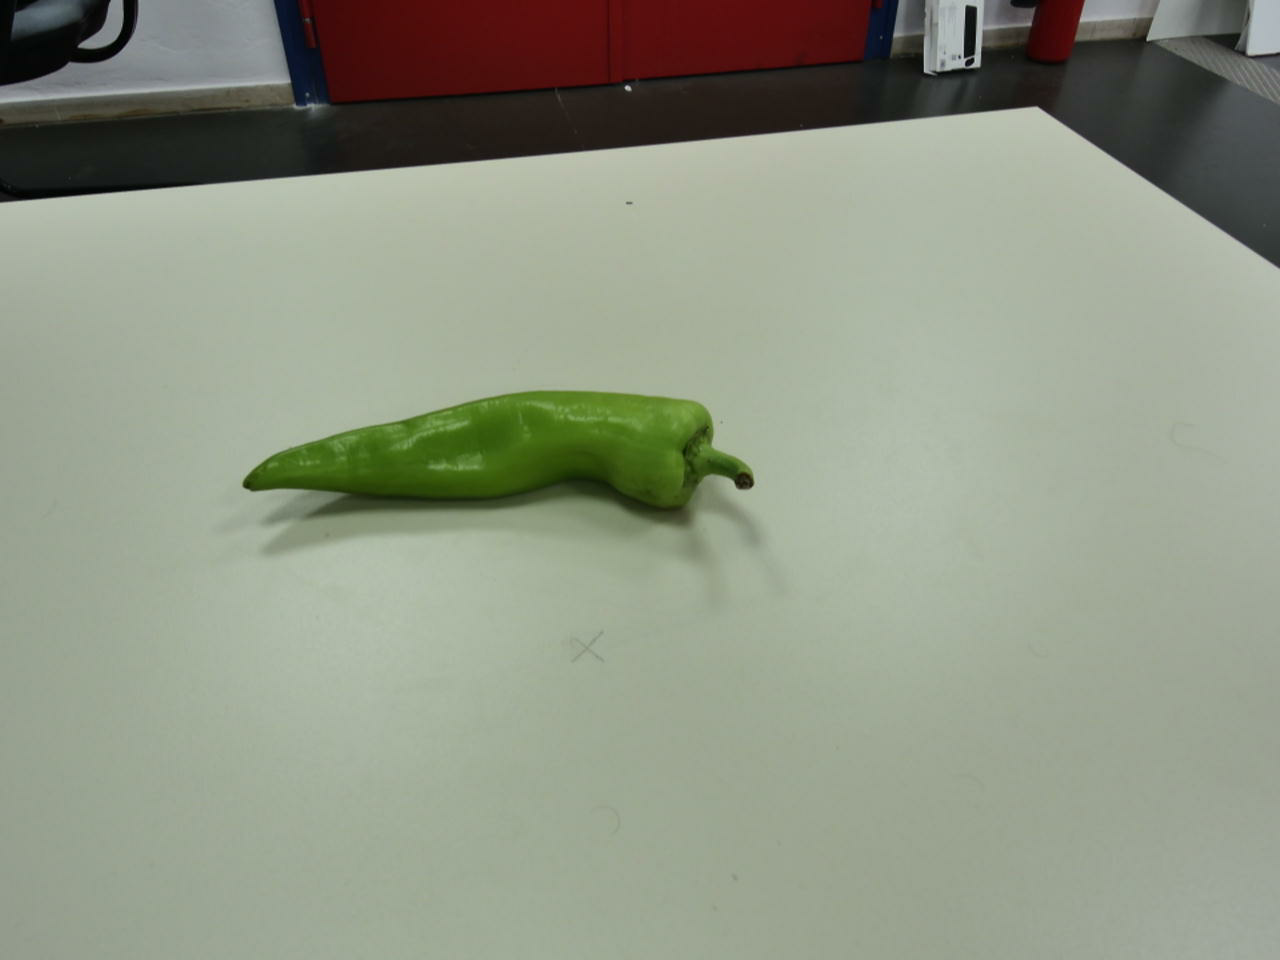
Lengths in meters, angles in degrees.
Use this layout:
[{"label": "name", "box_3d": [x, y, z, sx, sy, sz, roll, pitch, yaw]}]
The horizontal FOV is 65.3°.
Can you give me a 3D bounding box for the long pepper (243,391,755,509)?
[{"label": "long pepper", "box_3d": [-0.055, -0.013, 0.421, 0.205, 0.045, 0.065, 2, 38, 2]}]
